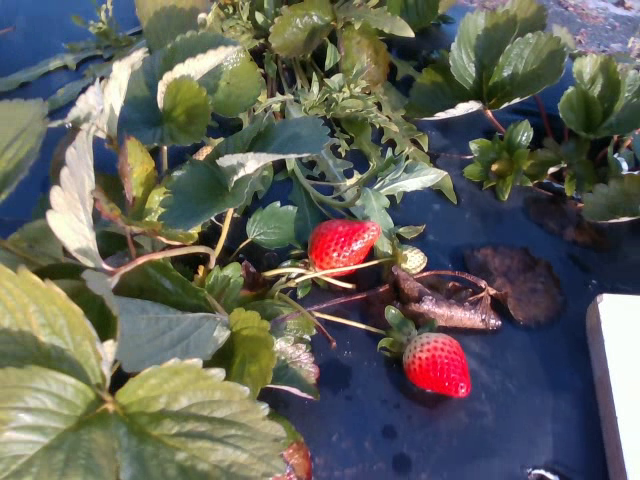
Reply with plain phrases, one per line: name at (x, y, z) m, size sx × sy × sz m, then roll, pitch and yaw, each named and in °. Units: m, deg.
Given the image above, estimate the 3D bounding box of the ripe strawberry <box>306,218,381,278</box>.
ripe strawberry at (0.014, -0.001, 0.378) m, size 0.048 × 0.040 × 0.031 m, roll -33°, pitch -39°, yaw 29°

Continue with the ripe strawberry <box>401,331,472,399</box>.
ripe strawberry at (0.060, 0.065, 0.337) m, size 0.035 × 0.043 × 0.030 m, roll -27°, pitch -33°, yaw -18°
